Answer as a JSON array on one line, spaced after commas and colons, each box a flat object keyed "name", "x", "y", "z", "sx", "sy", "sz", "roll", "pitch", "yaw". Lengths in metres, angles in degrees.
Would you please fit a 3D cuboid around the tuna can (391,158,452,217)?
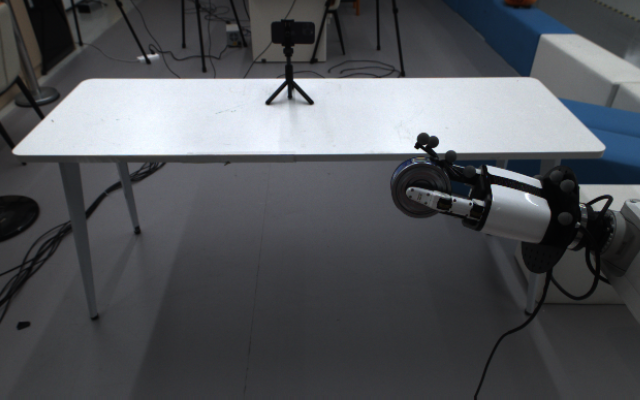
[{"name": "tuna can", "x": 0.148, "y": -0.012, "z": 0.692, "sx": 0.085, "sy": 0.085, "sz": 0.034, "roll": 7, "pitch": 19, "yaw": 6}]
